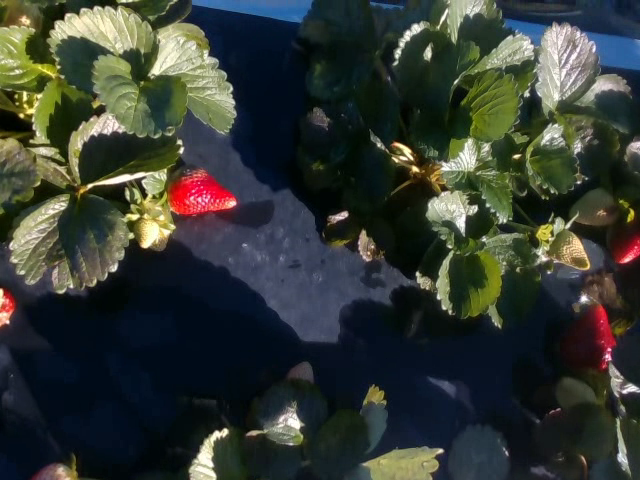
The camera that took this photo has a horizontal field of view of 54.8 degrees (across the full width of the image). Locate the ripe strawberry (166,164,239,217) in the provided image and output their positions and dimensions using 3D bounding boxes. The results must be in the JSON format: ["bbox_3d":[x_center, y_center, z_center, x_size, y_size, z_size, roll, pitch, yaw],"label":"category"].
[{"bbox_3d":[-0.096,-0.037,0.499,0.064,0.050,0.052,13,19,-3],"label":"ripe strawberry"}]
